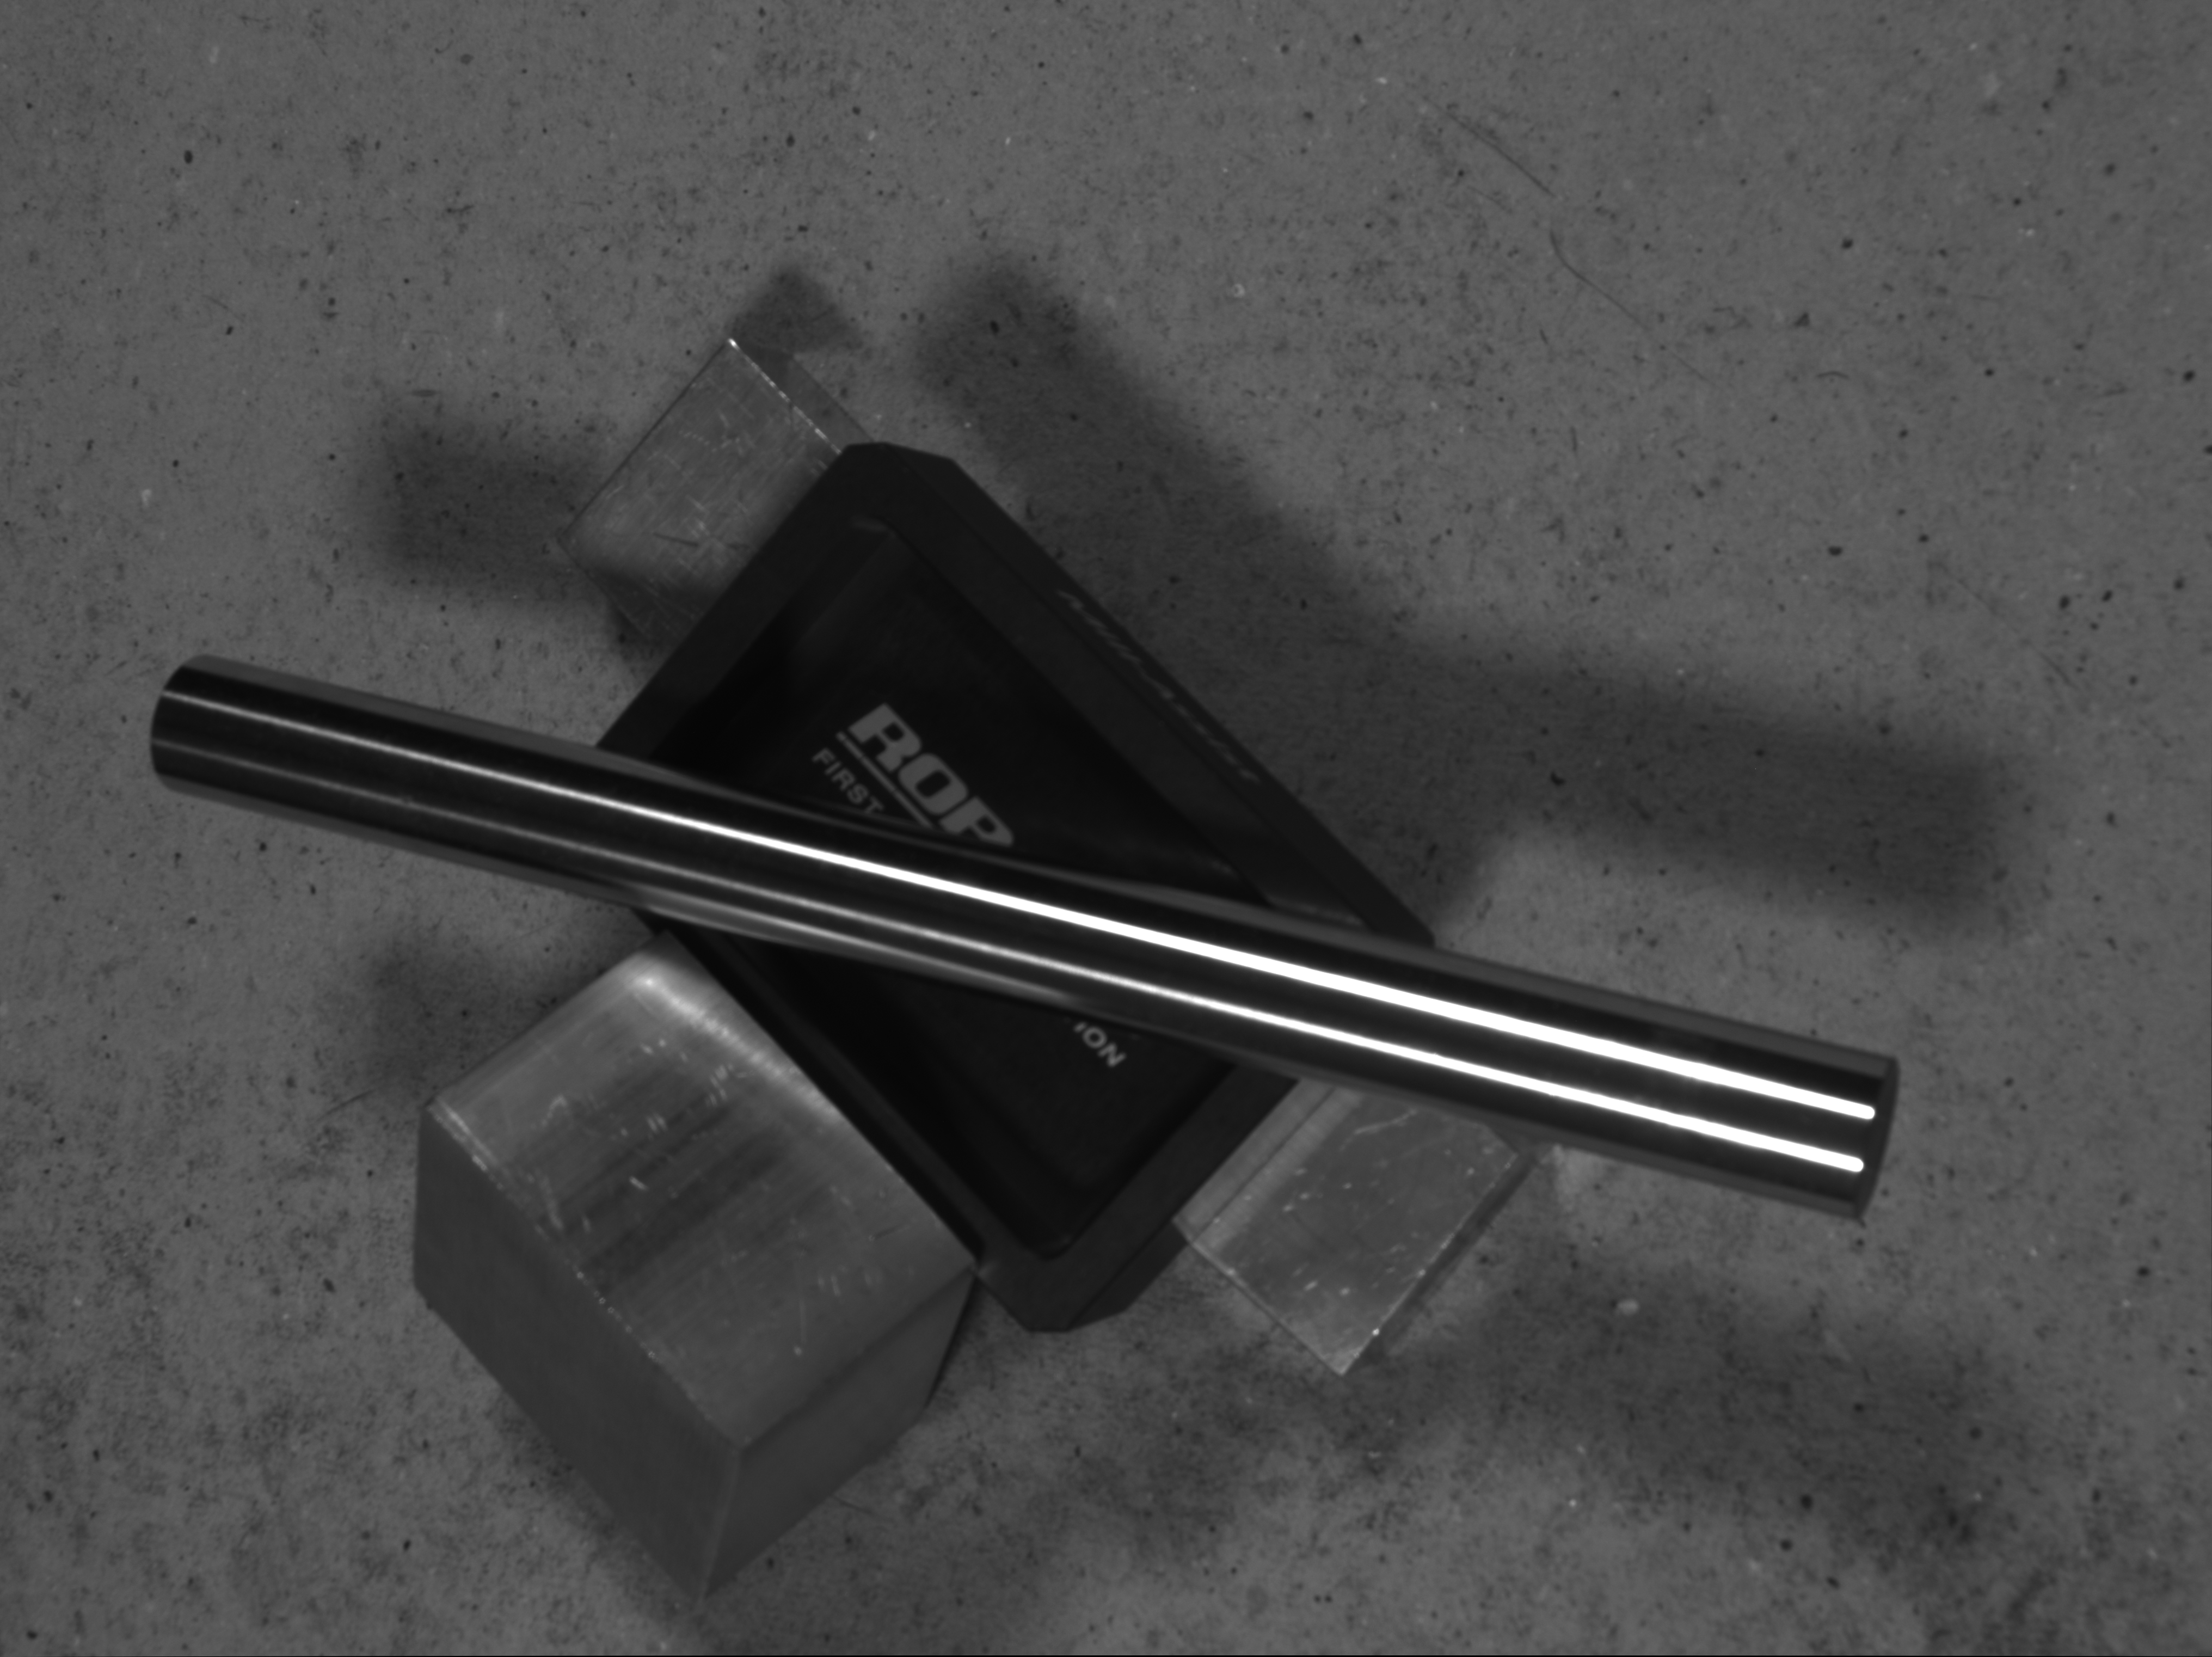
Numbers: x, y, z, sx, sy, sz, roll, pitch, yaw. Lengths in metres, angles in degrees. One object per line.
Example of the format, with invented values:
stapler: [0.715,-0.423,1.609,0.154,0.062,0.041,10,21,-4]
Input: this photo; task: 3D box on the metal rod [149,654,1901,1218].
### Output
metal rod: [-0.023,0.014,0.594,0.299,0.025,0.025,13,94,19]

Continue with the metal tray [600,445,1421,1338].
metal tray: [-0.020,0.010,0.622,0.130,0.030,0.090,45,104,14]

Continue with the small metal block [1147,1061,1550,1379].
small metal block: [0.040,0.058,0.630,0.050,0.025,0.050,40,102,15]

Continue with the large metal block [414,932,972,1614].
large metal block: [-0.074,0.078,0.632,0.050,0.080,0.080,-37,74,-27]

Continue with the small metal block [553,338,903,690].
small metal block: [-0.063,-0.052,0.667,0.050,0.025,0.050,46,104,14]
